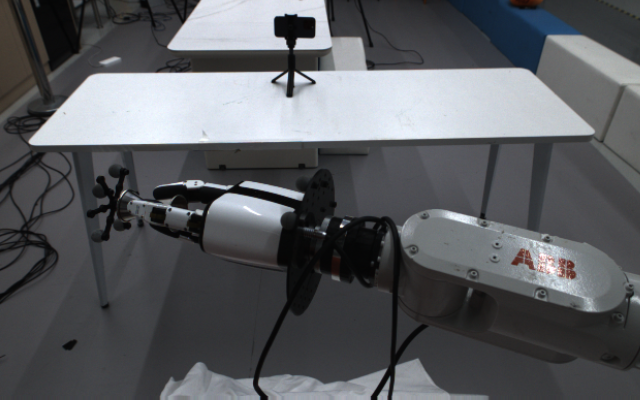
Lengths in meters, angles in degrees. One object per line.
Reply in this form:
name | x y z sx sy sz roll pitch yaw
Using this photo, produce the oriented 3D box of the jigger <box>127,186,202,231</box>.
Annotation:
jigger | -0.190 0.009 0.567 0.071 0.043 0.043 8 35 13
